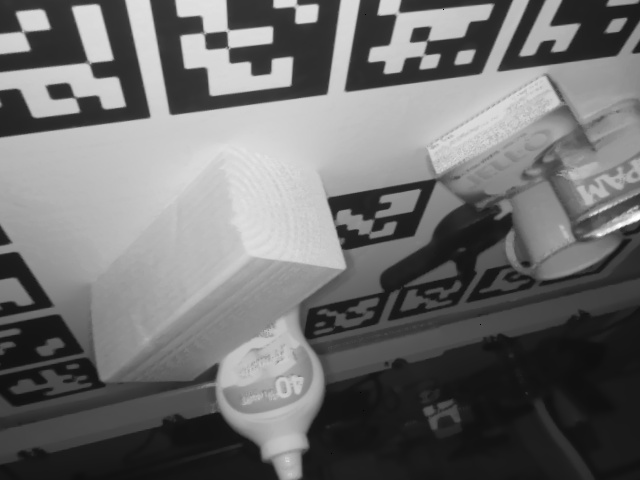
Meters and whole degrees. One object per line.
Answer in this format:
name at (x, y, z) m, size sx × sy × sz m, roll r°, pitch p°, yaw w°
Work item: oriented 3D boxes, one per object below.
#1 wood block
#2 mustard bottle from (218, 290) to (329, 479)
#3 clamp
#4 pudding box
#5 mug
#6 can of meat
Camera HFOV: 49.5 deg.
wood block at (-0.093, 0.025, 0.555) m, size 0.091 × 0.091 × 0.203 m, roll 15°, pitch 137°, yaw -41°
mustard bottle at (-0.044, 0.122, 0.616) m, size 0.097 × 0.192 × 0.058 m, roll -13°, pitch 145°, yaw -7°
clamp at (0.144, 0.019, 0.705) m, size 0.123 × 0.037 × 0.162 m, roll 3°, pitch 139°, yaw -26°
pudding box at (0.149, -0.073, 0.565) m, size 0.112 × 0.039 × 0.091 m, roll -32°, pitch 143°, yaw 23°
mug at (0.227, -0.014, 0.687) m, size 0.094 × 0.082 × 0.115 m, roll 4°, pitch 139°, yaw -29°
can of meat at (0.250, -0.055, 0.587) m, size 0.101 × 0.084 × 0.058 m, roll -27°, pitch 144°, yaw 14°
